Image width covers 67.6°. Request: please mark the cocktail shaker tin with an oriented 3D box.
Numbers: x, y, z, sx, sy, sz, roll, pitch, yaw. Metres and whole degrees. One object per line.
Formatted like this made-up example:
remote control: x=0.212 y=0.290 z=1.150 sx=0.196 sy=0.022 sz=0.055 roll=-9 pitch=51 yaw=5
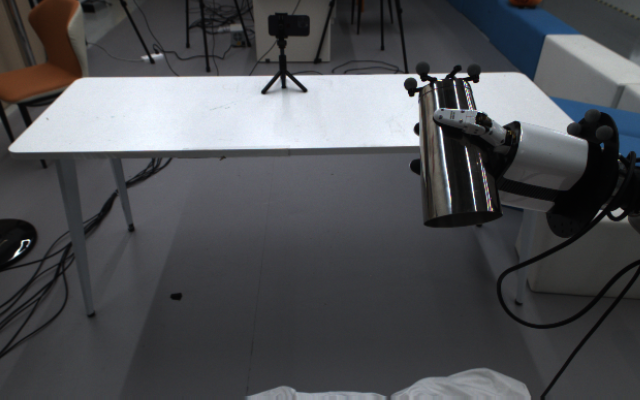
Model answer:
cocktail shaker tin: x=0.166 y=-0.058 z=0.598 sx=0.093 sy=0.093 sz=0.170 roll=-3 pitch=76 yaw=-8
